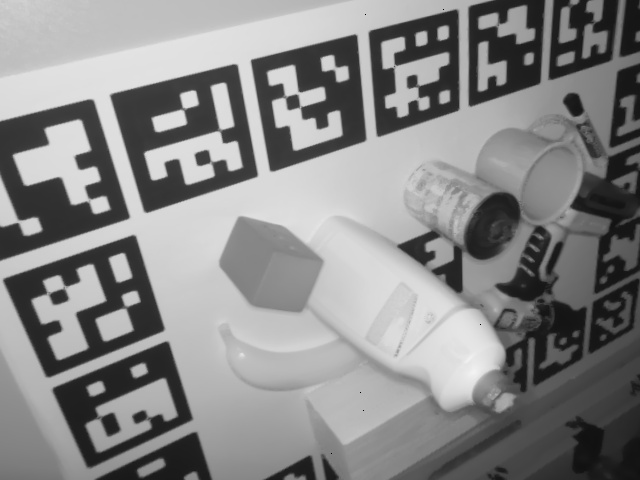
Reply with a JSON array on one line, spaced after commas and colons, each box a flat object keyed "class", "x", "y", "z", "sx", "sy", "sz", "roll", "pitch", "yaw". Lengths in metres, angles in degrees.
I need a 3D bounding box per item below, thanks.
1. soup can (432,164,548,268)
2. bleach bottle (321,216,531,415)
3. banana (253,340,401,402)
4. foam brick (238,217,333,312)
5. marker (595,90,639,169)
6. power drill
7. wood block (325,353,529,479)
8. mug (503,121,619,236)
[{"class": "soup can", "x": 0.164, "y": -0.025, "z": 0.681, "sx": 0.069, "sy": 0.101, "sz": 0.067, "roll": -13, "pitch": 123, "yaw": -21}, {"class": "bleach bottle", "x": 0.085, "y": 0.070, "z": 0.600, "sx": 0.069, "sy": 0.249, "sz": 0.102, "roll": 9, "pitch": 110, "yaw": -31}, {"class": "banana", "x": 0.026, "y": 0.128, "z": 0.722, "sx": 0.200, "sy": 0.038, "sz": 0.074, "roll": -5, "pitch": 101, "yaw": -24}, {"class": "foam brick", "x": -0.030, "y": 0.021, "z": 0.623, "sx": 0.053, "sy": 0.077, "sz": 0.051, "roll": 14, "pitch": 108, "yaw": -34}, {"class": "marker", "x": 0.343, "y": -0.126, "z": 0.791, "sx": 0.020, "sy": 0.019, "sz": 0.121, "roll": -47, "pitch": 125, "yaw": -3}, {"class": "power drill", "x": 0.311, "y": 0.030, "z": 0.828, "sx": 0.187, "sy": 0.057, "sz": 0.185, "roll": 9, "pitch": 109, "yaw": -28}, {"class": "wood block", "x": 0.121, "y": 0.186, "z": 0.775, "sx": 0.209, "sy": 0.090, "sz": 0.089, "roll": -21, "pitch": 120, "yaw": -18}, {"class": "mug", "x": 0.254, "y": -0.071, "z": 0.727, "sx": 0.094, "sy": 0.081, "sz": 0.117, "roll": 26, "pitch": 96, "yaw": -32}]
